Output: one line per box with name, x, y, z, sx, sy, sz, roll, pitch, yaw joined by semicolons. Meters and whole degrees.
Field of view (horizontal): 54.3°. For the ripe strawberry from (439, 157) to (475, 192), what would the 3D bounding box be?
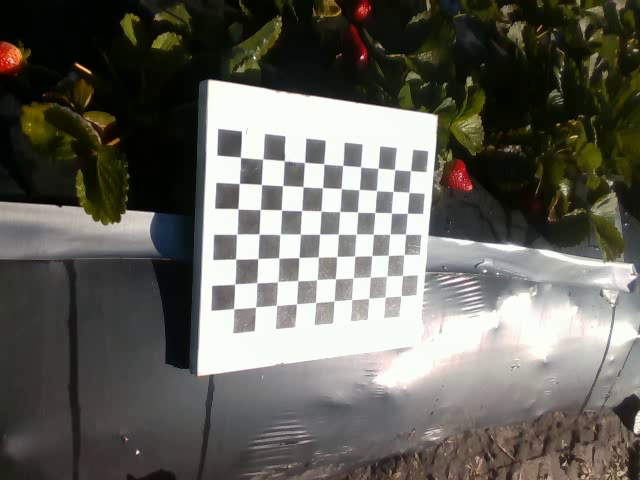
ripe strawberry;0.187;-0.083;0.828;0.055;0.048;0.029;51;-21;-27
